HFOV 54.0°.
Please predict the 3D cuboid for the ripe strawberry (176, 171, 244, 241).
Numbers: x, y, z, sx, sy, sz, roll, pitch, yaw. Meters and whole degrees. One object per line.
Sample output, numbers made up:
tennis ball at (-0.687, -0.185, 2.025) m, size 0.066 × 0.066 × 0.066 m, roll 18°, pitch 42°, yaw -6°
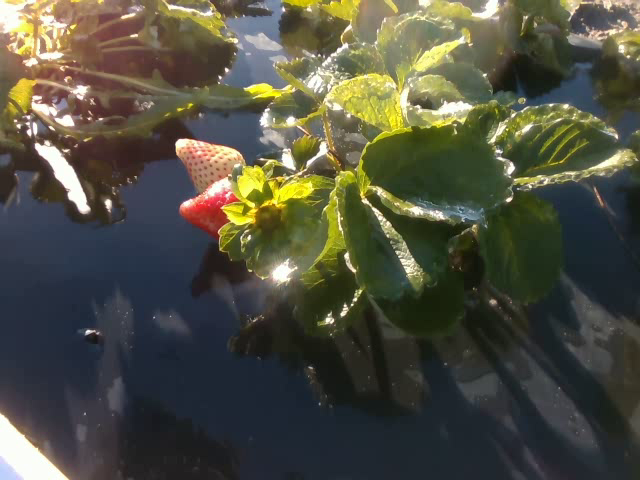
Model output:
ripe strawberry at (-0.048, -0.016, 0.303) m, size 0.040 × 0.038 × 0.055 m, roll 10°, pitch -8°, yaw 44°
